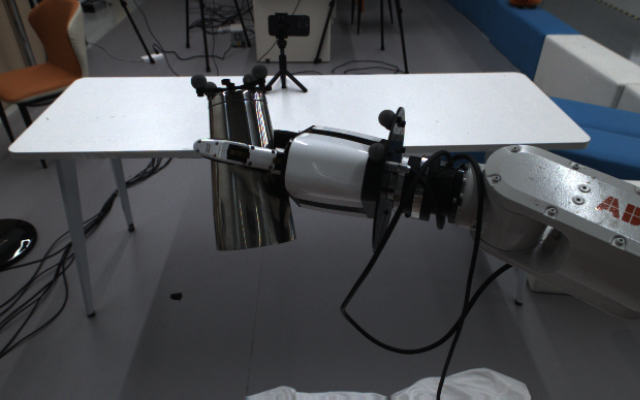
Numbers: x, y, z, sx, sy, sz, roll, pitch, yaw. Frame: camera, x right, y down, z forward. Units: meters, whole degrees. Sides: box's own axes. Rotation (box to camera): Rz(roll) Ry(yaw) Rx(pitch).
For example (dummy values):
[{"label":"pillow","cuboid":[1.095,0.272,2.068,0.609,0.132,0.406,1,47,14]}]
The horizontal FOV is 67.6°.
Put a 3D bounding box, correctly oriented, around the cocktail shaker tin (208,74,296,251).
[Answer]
[{"label":"cocktail shaker tin","cuboid":[-0.083,-0.033,0.553,0.093,0.170,0.093,-8,1,0]}]
